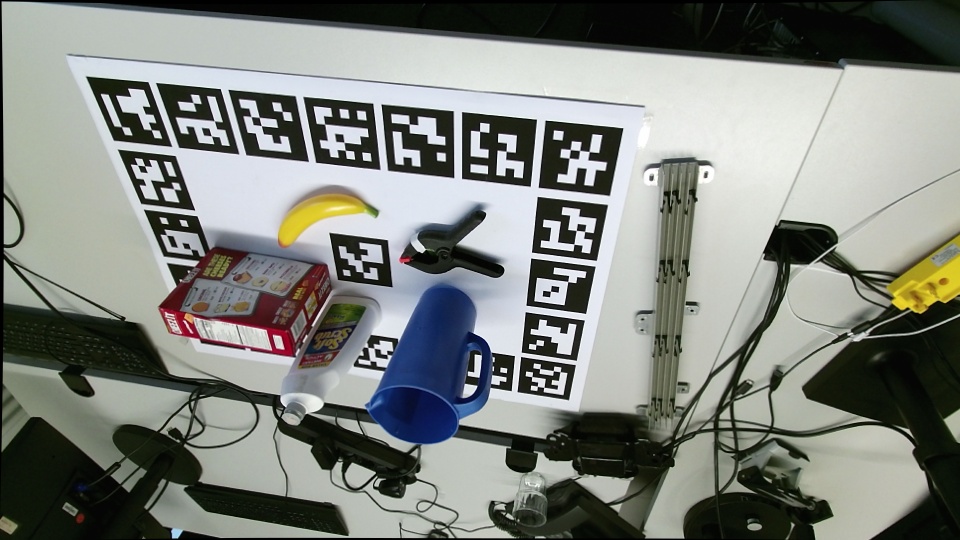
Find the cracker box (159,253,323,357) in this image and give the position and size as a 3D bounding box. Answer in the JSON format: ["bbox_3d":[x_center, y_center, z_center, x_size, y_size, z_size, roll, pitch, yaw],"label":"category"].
[{"bbox_3d":[-0.399,0.062,0.905,0.214,0.163,0.072,8,131,3],"label":"cracker box"}]

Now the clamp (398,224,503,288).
[{"bbox_3d":[-0.055,-0.015,0.871,0.165,0.036,0.122,-4,128,17],"label":"clamp"}]

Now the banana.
[{"bbox_3d":[-0.270,-0.069,0.884,0.198,0.038,0.074,-21,121,25],"label":"banana"}]

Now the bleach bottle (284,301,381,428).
[{"bbox_3d":[-0.255,0.158,0.915,0.103,0.250,0.068,8,129,6],"label":"bleach bottle"}]

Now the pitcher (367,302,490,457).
[{"bbox_3d":[-0.071,0.164,0.856,0.189,0.241,0.133,-6,126,19],"label":"pitcher"}]
